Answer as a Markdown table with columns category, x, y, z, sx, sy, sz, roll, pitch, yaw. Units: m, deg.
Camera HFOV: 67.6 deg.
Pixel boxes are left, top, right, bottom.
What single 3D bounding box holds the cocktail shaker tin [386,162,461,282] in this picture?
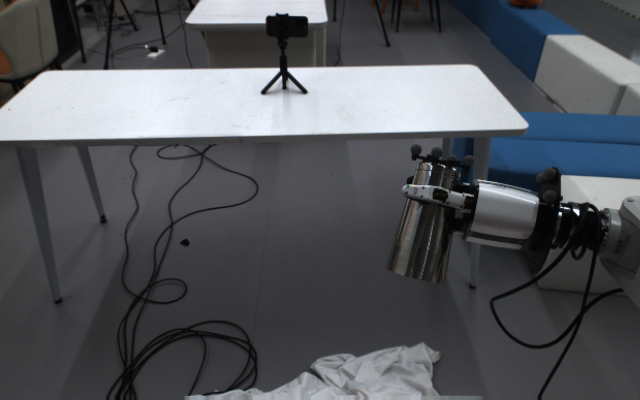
| category | x | y | z | sx | sy | sz | roll | pitch | yaw |
| --- | --- | --- | --- | --- | --- | --- | --- | --- | --- |
| cocktail shaker tin | 0.167 | 0.029 | 0.742 | 0.093 | 0.170 | 0.093 | 13 | 1 | 0 |
